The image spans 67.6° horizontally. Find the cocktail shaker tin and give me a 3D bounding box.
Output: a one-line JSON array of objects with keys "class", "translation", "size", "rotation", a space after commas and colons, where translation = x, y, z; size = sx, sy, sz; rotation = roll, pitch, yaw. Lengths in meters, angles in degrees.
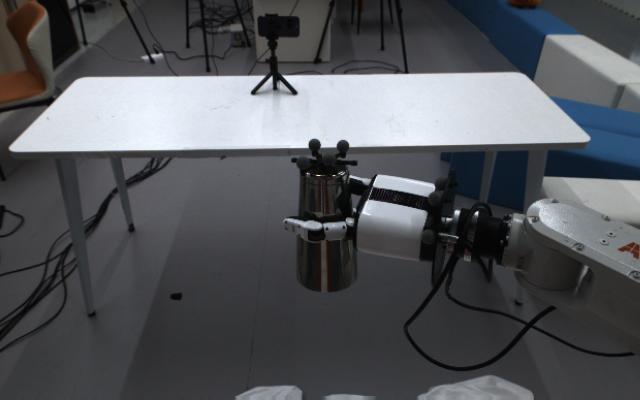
[{"class": "cocktail shaker tin", "translation": [0.010, 0.032, 0.682], "size": [0.093, 0.170, 0.093], "rotation": [-1, 26, 1]}]
